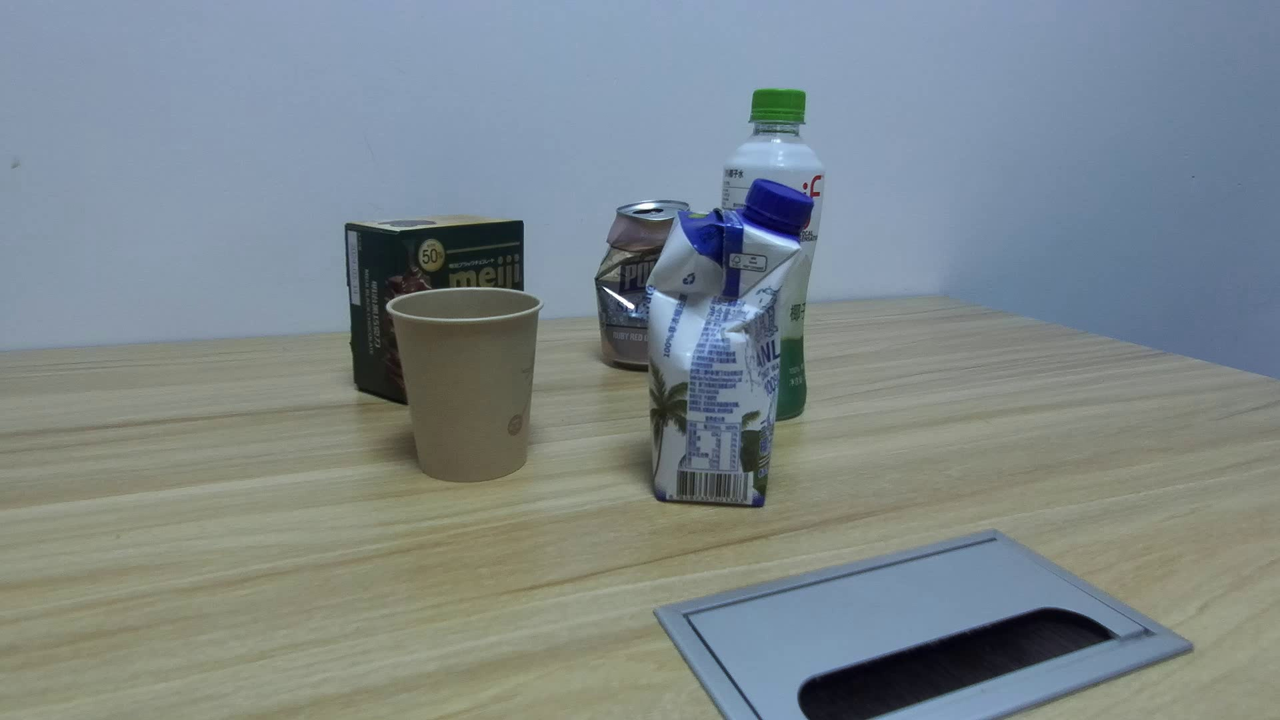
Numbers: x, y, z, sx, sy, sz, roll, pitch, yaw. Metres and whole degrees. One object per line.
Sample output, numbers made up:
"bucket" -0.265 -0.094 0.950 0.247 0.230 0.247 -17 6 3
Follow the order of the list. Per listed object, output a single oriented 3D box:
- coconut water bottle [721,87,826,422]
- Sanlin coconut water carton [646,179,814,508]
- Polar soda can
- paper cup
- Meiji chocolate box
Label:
"coconut water bottle" 0.078 -0.062 0.429 0.063 0.188 0.063 2 14 0
"Sanlin coconut water carton" 0.037 -0.007 0.332 0.070 0.143 0.061 4 9 1
"Polar soda can" 0.006 -0.051 0.531 0.071 0.122 0.066 -9 25 -27
"paper cup" -0.085 0.012 0.353 0.075 0.082 0.075 2 16 0
"Meiji chocolate box" -0.133 -0.038 0.478 0.056 0.109 0.110 12 19 32
